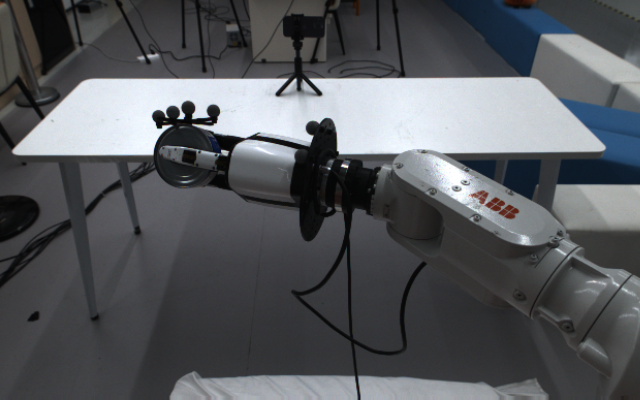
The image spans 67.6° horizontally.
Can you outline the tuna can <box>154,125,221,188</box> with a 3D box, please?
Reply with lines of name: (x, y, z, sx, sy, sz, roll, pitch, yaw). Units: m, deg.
tuna can: (-0.175, -0.056, 0.657, 0.085, 0.085, 0.034, 10, 2, 11)
